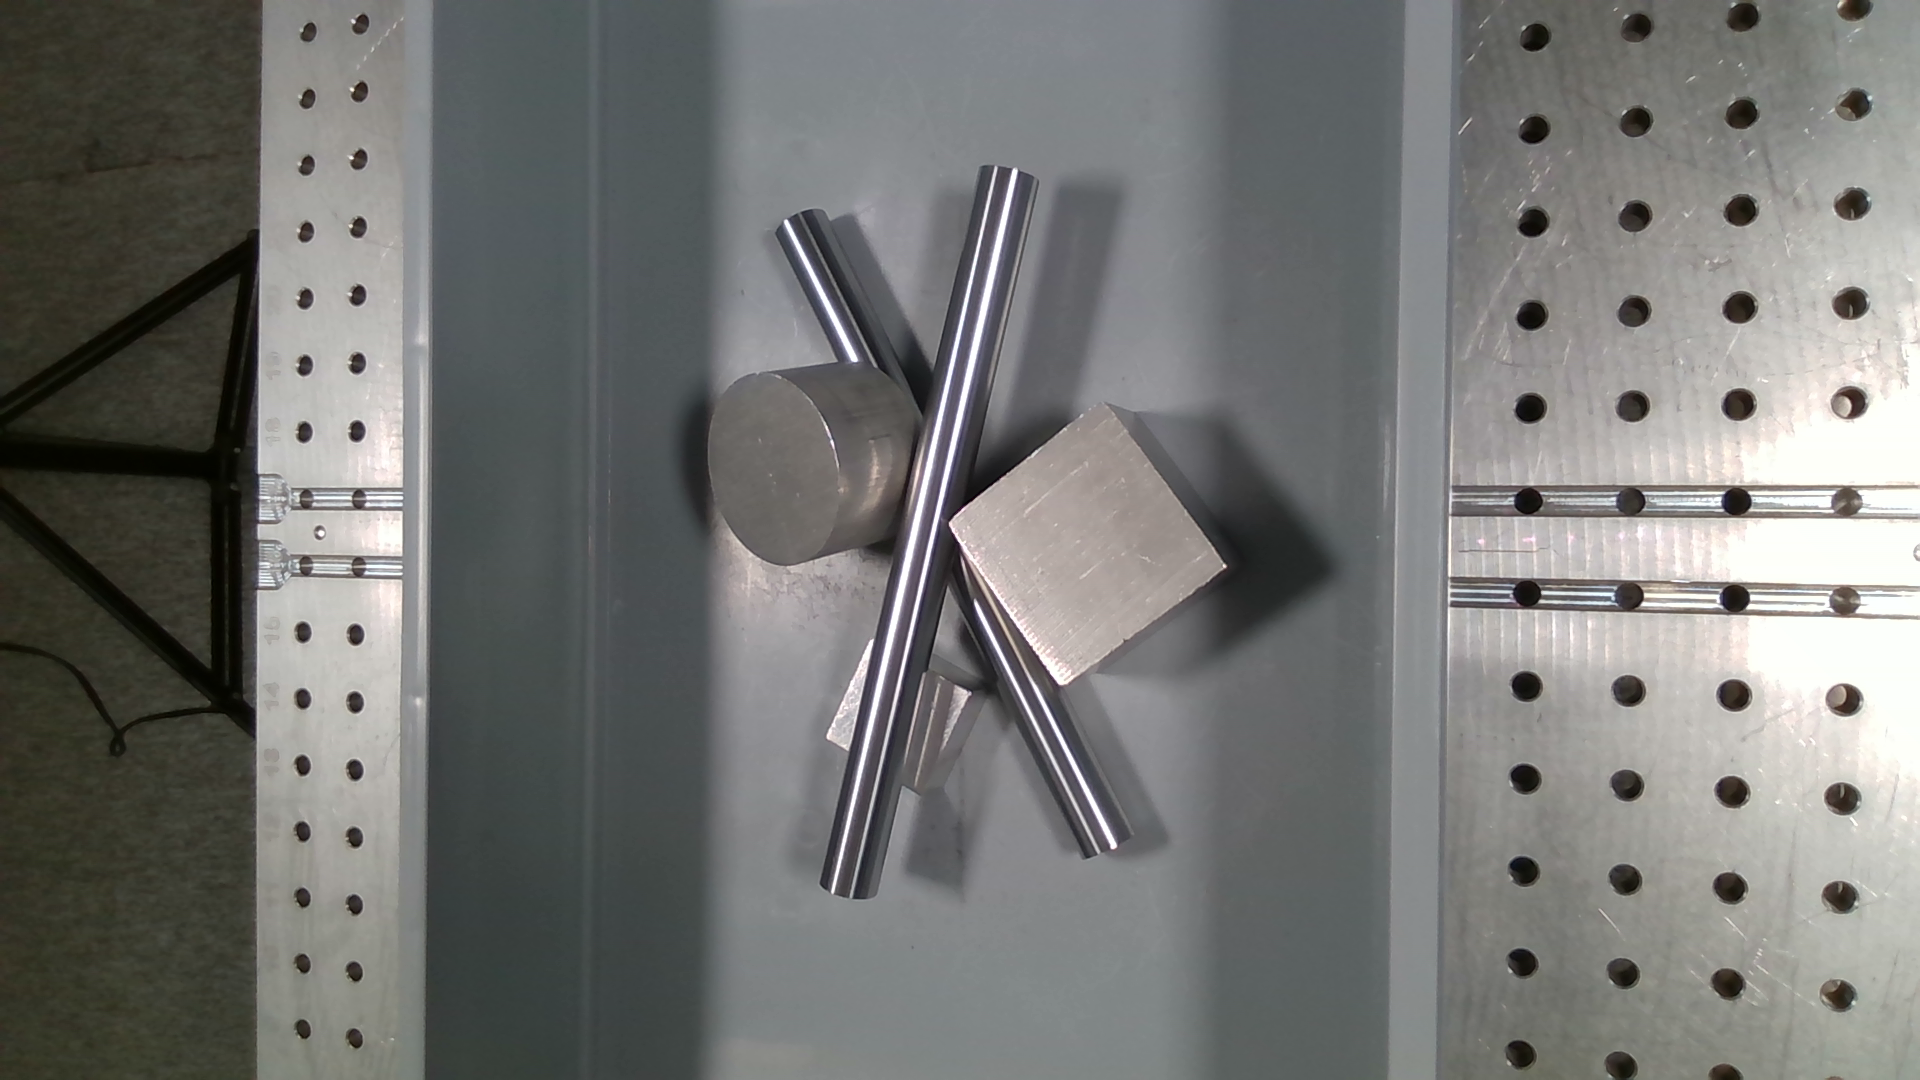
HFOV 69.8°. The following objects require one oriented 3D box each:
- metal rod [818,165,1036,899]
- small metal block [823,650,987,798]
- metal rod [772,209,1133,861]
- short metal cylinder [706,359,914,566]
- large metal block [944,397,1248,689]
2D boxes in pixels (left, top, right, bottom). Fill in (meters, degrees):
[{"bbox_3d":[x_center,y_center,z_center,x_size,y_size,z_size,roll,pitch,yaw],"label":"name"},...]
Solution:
[{"bbox_3d":[-0.014,0.000,0.563,0.025,0.025,0.300,15,95,20],"label":"metal rod"},{"bbox_3d":[-0.023,0.075,0.592,0.050,0.025,0.050,28,100,18],"label":"small metal block"},{"bbox_3d":[-0.006,-0.007,0.586,0.025,0.025,0.300,-29,81,18],"label":"metal rod"},{"bbox_3d":[-0.062,-0.033,0.578,0.080,0.050,0.080,13,110,39],"label":"short metal cylinder"},{"bbox_3d":[0.055,0.001,0.550,0.080,0.050,0.080,-38,78,17],"label":"large metal block"}]
